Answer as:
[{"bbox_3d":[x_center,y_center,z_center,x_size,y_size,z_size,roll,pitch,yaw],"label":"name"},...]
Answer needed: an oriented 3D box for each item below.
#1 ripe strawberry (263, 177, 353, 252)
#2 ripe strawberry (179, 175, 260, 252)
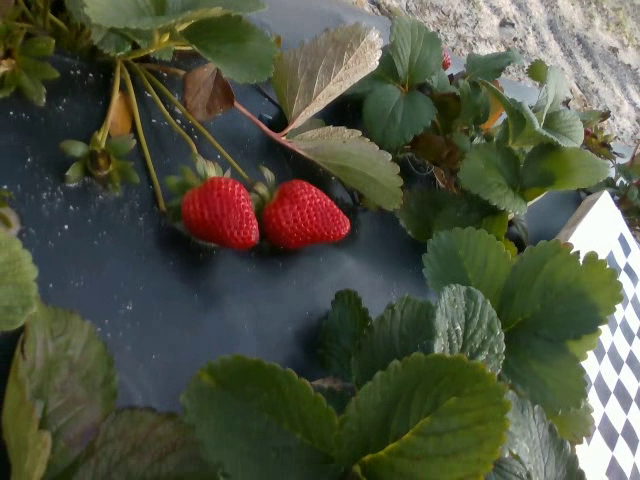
[{"bbox_3d":[-0.007,-0.017,0.400,0.064,0.051,0.058,22,46,7],"label":"ripe strawberry"},{"bbox_3d":[-0.056,-0.014,0.362,0.048,0.056,0.041,-12,-36,-45],"label":"ripe strawberry"}]
